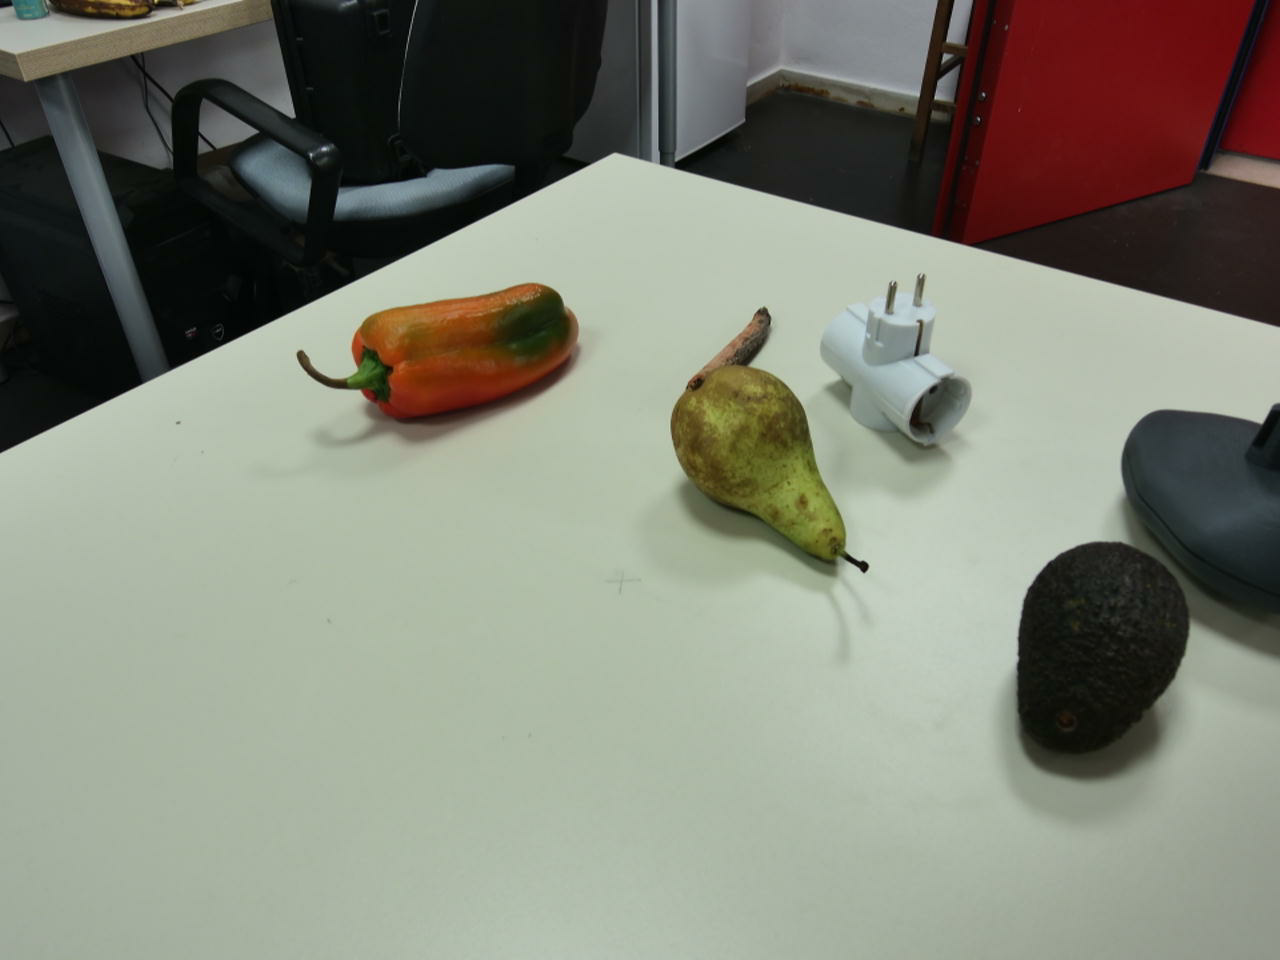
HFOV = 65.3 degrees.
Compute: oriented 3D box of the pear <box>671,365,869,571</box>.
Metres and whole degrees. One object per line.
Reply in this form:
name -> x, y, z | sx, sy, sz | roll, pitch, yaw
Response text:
pear -> 0.078, -0.009, 0.518 | 0.144, 0.075, 0.071 | 31, 47, 34
